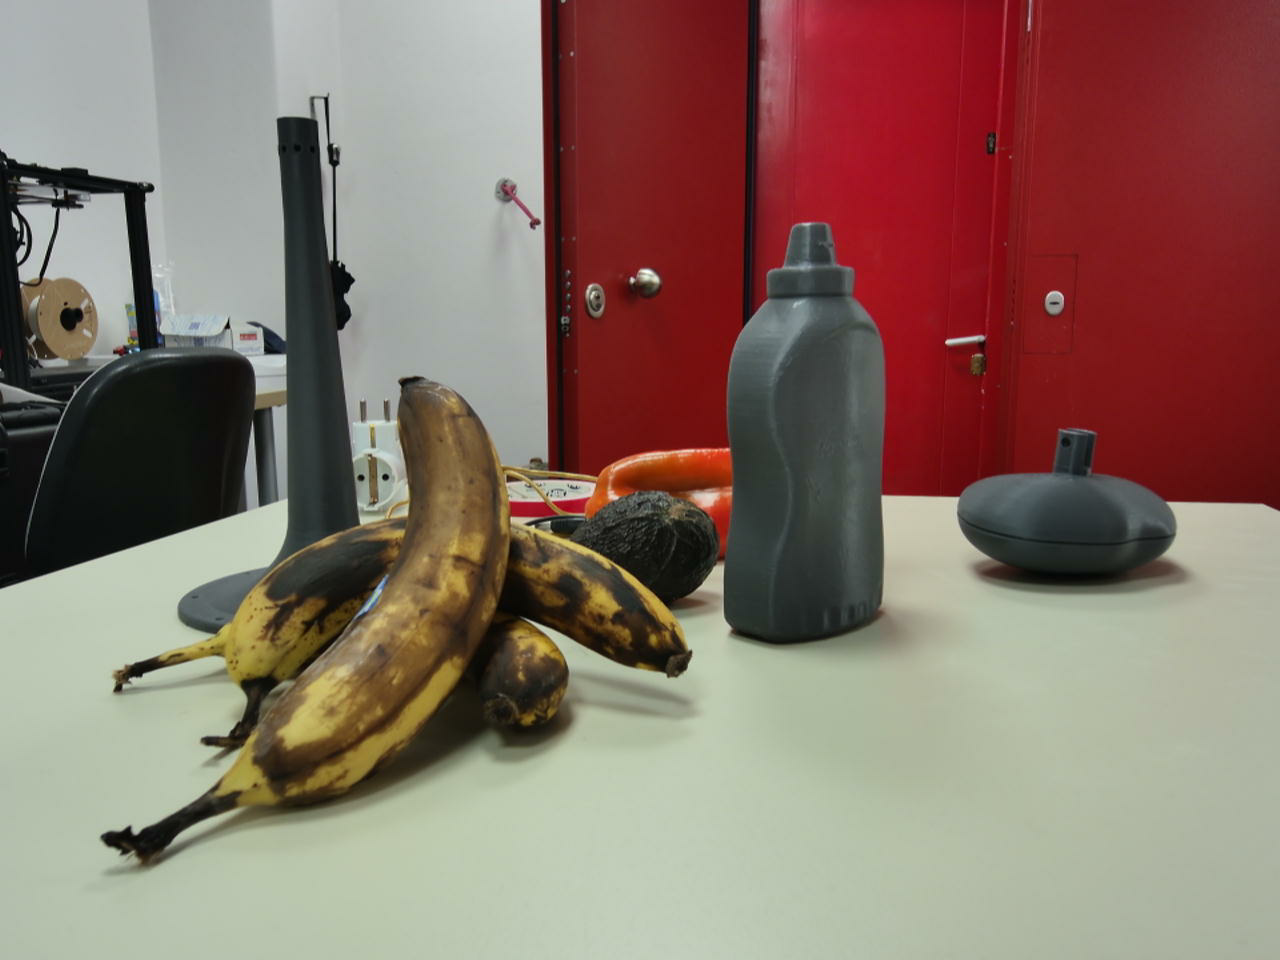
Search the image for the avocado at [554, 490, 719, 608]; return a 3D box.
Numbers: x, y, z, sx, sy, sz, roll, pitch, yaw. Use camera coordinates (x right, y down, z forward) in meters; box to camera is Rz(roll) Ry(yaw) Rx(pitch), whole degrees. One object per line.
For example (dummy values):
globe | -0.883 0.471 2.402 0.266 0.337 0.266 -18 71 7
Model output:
avocado | -0.002 0.037 0.540 0.092 0.062 0.062 -1 7 -12
